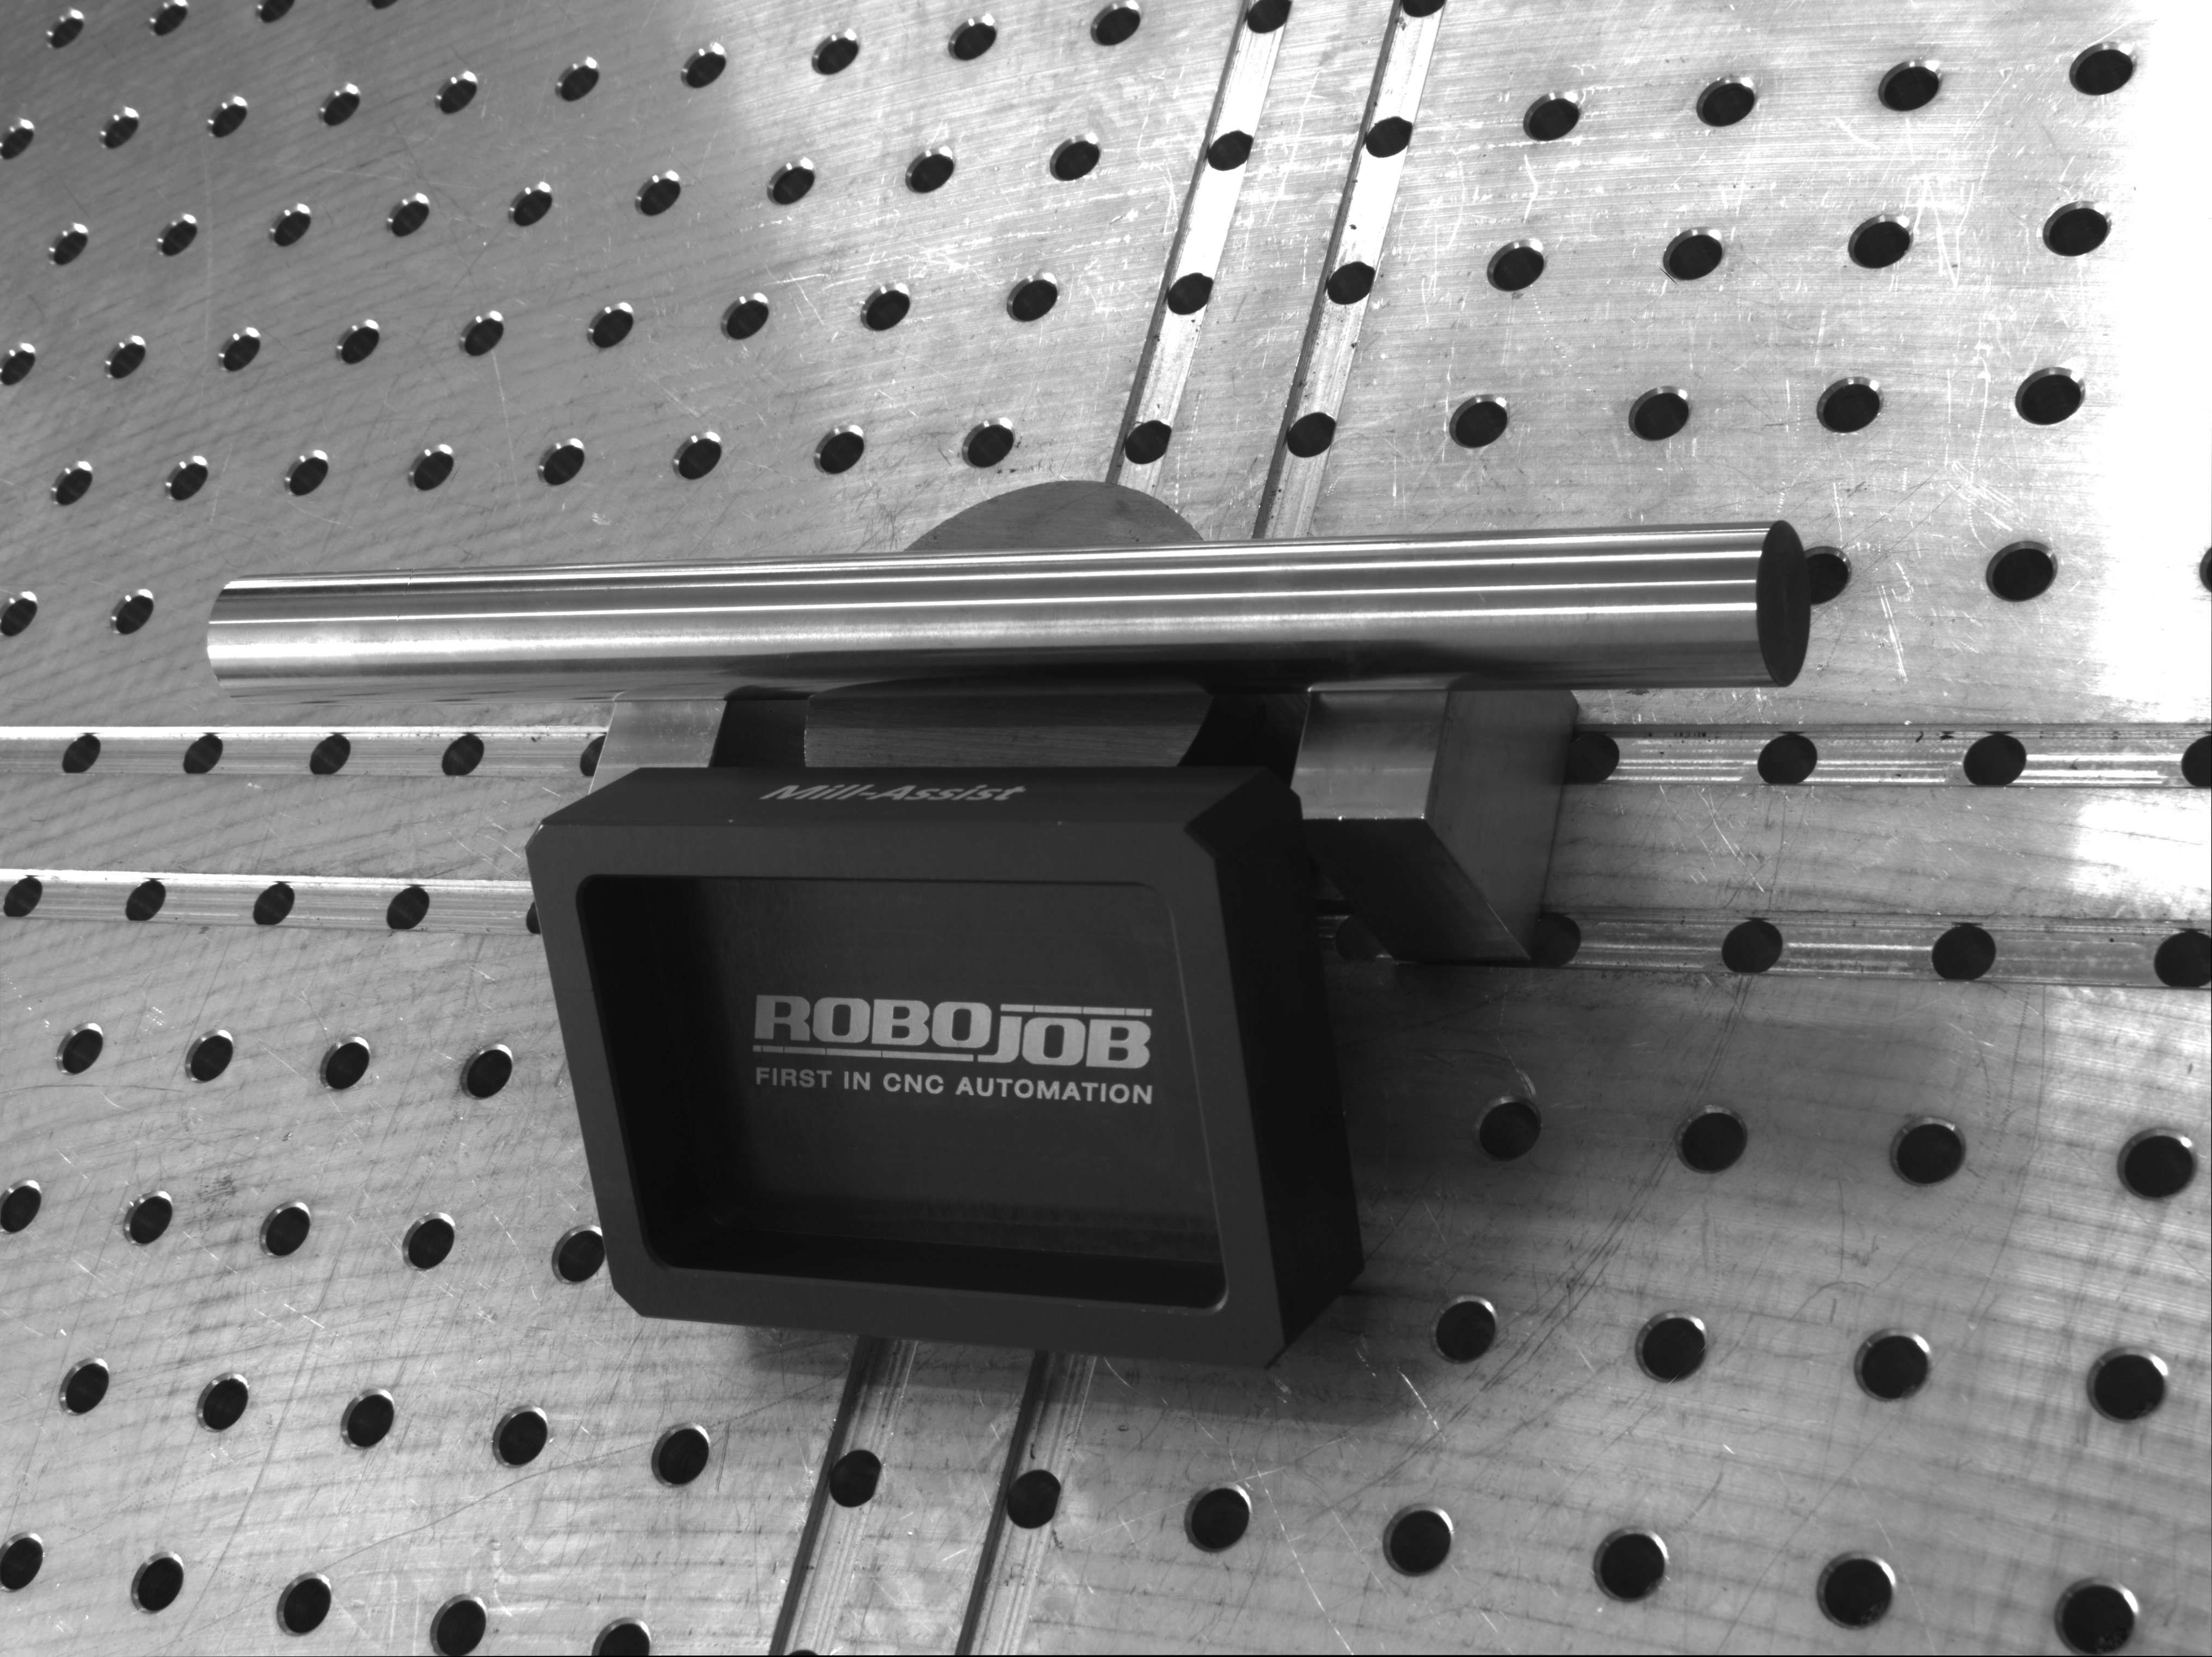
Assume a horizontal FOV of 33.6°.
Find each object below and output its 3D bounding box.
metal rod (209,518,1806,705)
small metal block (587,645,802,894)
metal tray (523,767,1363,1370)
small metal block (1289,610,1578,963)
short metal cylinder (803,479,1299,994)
[{"bbox_3d":[-0.030,-0.035,0.621,0.299,0.025,0.025,0,62,29],"label":"metal rod"},{"bbox_3d":[-0.066,-0.014,0.676,0.025,0.050,0.050,-1,61,28],"label":"small metal block"},{"bbox_3d":[-0.028,0.037,0.601,0.130,0.090,0.030,0,18,29],"label":"metal tray"},{"bbox_3d":[0.055,-0.011,0.609,0.025,0.050,0.050,-1,61,28],"label":"small metal block"},{"bbox_3d":[-0.006,-0.014,0.643,0.080,0.050,0.080,-14,56,21],"label":"short metal cylinder"}]
